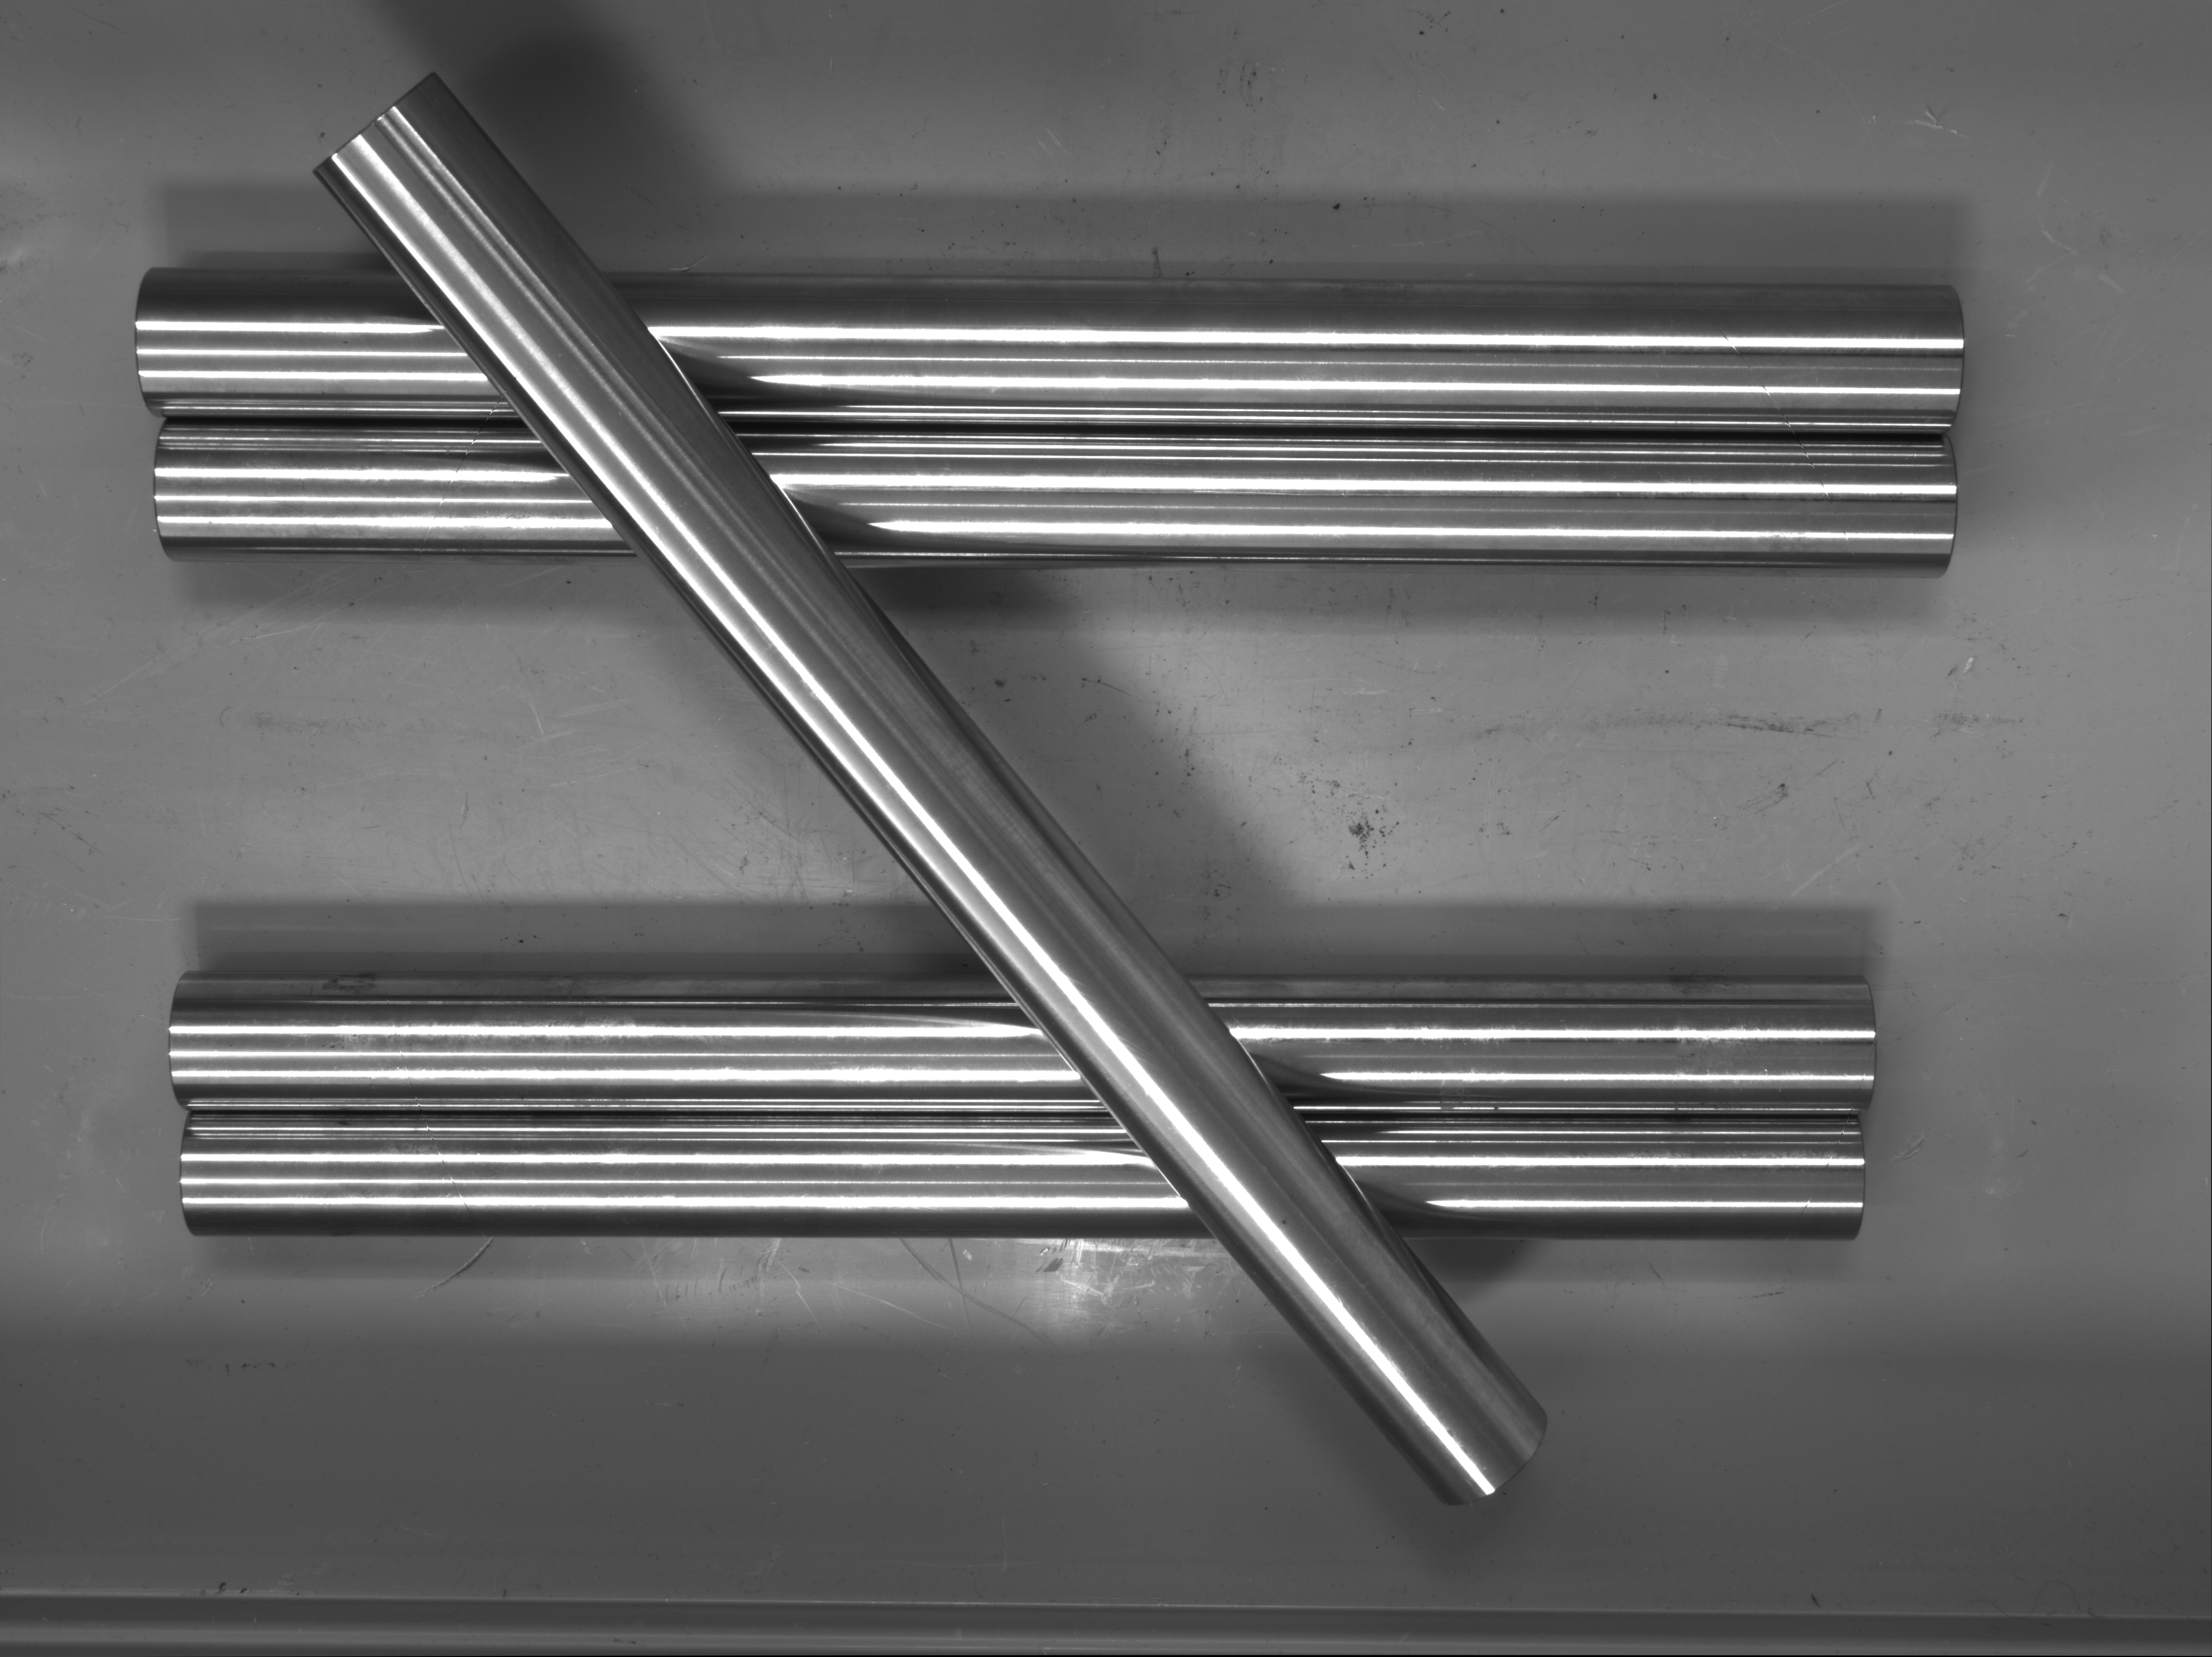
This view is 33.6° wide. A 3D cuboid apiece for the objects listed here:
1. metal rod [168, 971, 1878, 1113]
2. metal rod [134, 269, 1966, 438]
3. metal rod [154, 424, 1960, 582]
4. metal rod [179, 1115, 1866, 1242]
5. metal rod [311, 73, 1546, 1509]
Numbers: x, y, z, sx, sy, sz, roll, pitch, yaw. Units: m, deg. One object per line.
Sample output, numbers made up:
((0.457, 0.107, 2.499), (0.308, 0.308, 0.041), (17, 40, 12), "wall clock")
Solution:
((-0.014, 0.038, 0.656), (0.300, 0.025, 0.025), (0, 110, 0), "metal rod")
((-0.009, -0.079, 0.613), (0.300, 0.025, 0.025), (1, 110, 0), "metal rod")
((-0.008, -0.056, 0.622), (0.300, 0.025, 0.025), (1, 110, 0), "metal rod")
((-0.015, 0.062, 0.664), (0.300, 0.025, 0.025), (0, 110, 0), "metal rod")
((-0.023, 0.001, 0.616), (0.025, 0.025, 0.300), (-36, 106, 12), "metal rod")
